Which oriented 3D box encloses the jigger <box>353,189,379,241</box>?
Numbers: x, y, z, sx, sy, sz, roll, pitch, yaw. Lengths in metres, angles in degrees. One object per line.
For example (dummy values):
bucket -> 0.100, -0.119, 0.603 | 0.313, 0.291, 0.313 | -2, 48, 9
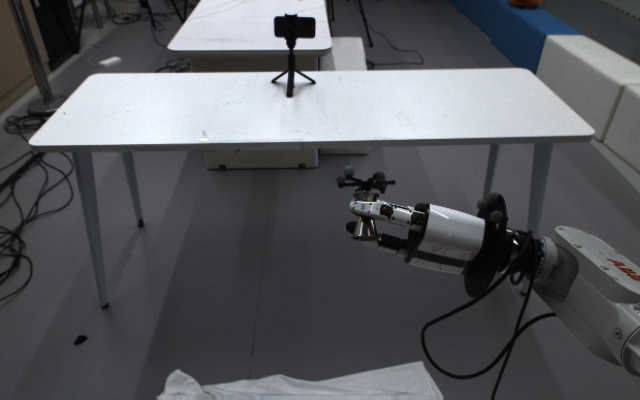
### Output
jigger -> 0.068, 0.023, 0.724 | 0.043, 0.043, 0.071 | 3, 76, 1
